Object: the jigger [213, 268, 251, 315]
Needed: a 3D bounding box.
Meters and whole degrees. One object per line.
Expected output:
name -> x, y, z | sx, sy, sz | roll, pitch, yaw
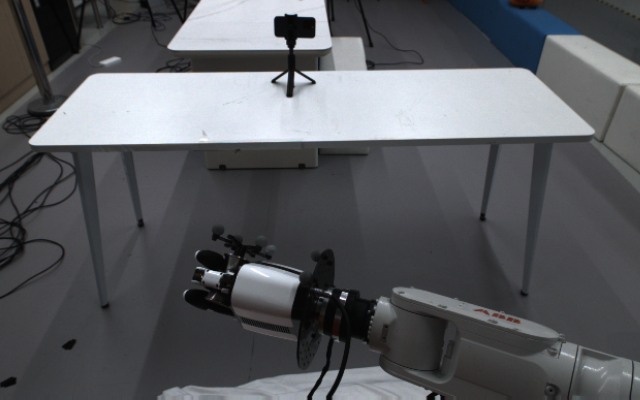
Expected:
jigger -> -0.124, 0.112, 0.672 | 0.043, 0.043, 0.071 | 13, 70, 16
